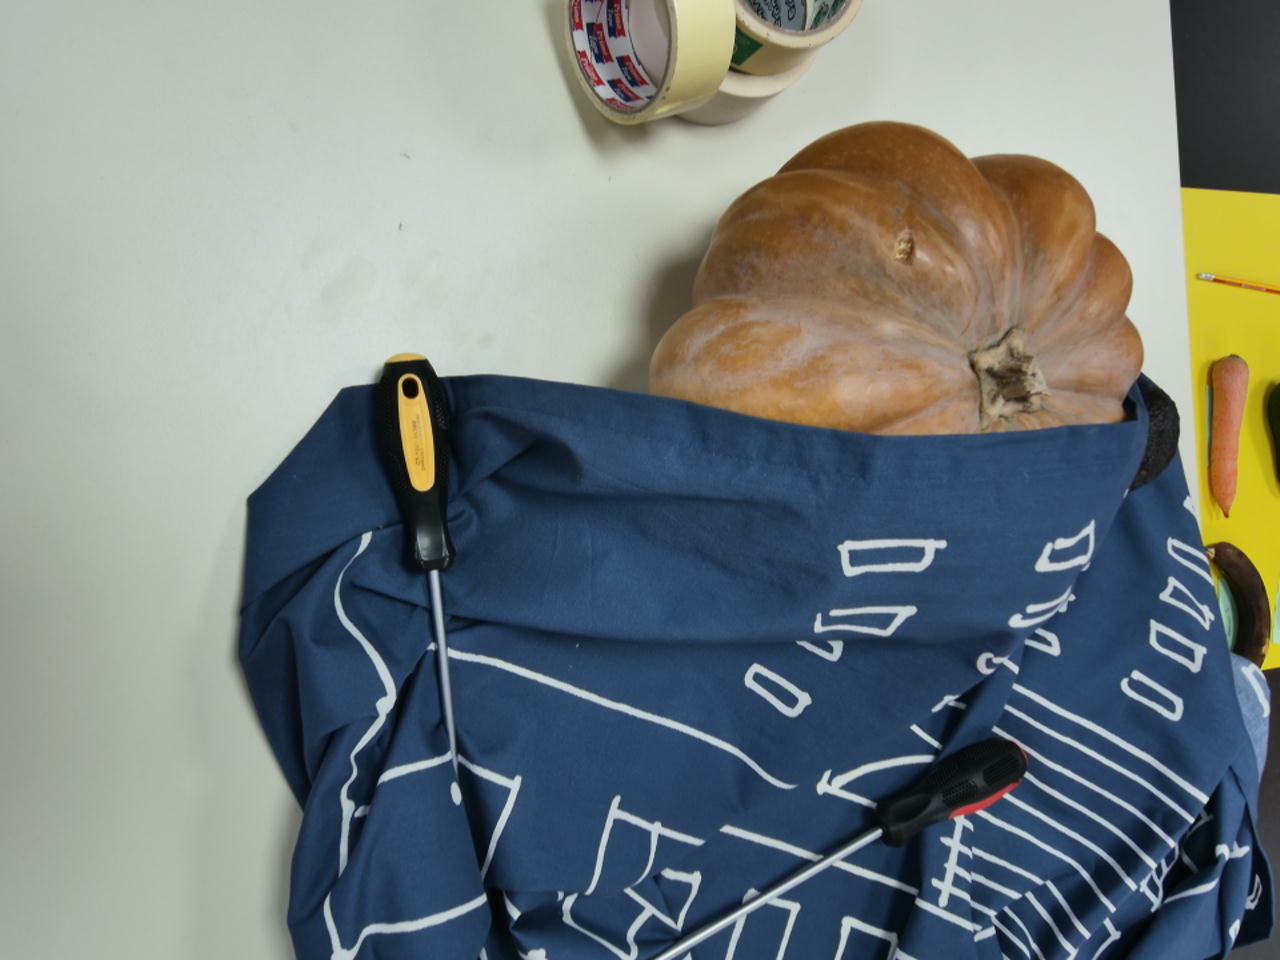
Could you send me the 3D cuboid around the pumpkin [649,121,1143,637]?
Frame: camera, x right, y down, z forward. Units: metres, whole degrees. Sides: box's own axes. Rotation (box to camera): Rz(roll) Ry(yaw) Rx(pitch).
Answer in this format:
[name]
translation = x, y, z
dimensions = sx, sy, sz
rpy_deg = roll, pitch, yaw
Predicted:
[pumpkin]
translation = 0.136, -0.049, 0.526
dimensions = 0.277, 0.181, 0.277
rpy_deg = -1, 92, -23
